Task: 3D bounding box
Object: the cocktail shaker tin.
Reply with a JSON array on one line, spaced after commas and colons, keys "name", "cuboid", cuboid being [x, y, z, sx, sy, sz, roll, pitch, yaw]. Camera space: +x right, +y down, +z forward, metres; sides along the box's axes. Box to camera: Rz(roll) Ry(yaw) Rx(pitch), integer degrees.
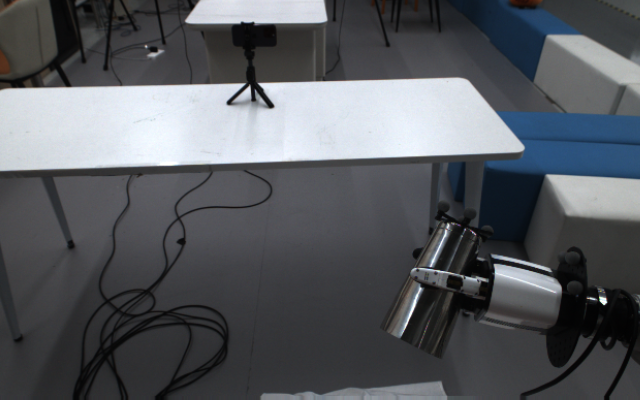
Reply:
[{"name": "cocktail shaker tin", "cuboid": [0.162, 0.116, 0.668, 0.093, 0.093, 0.170, 21, 81, 25]}]
